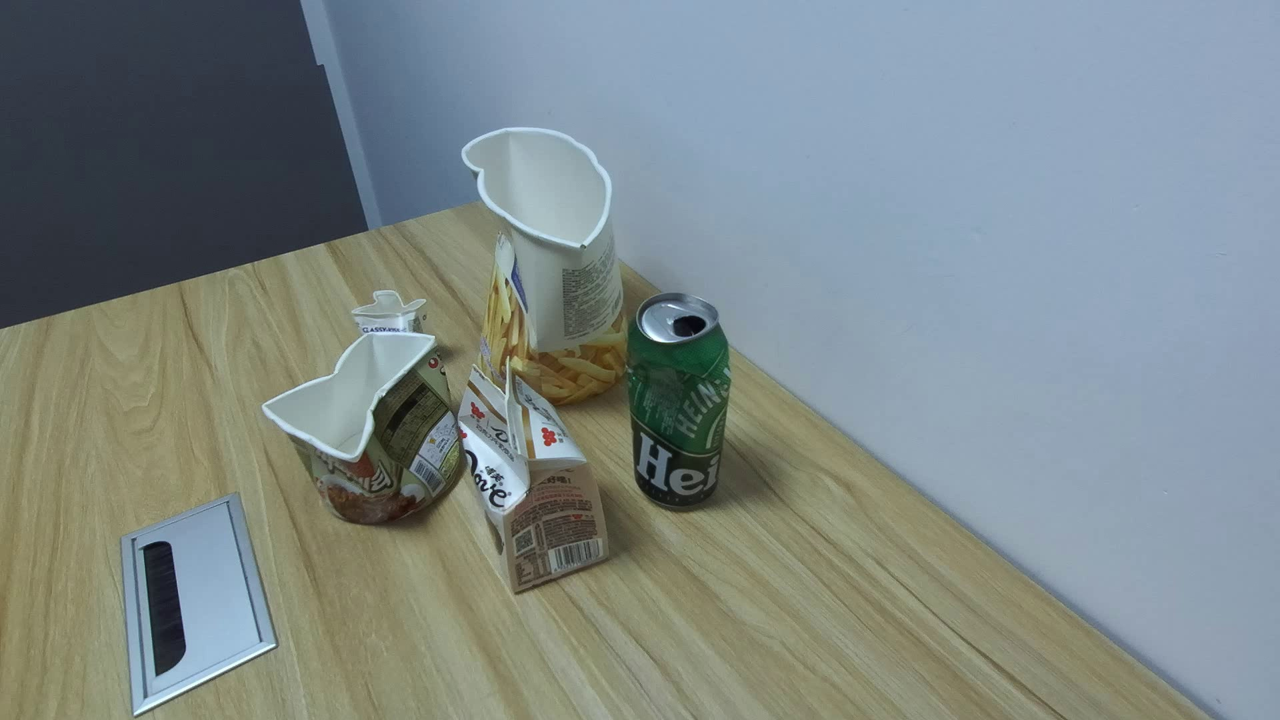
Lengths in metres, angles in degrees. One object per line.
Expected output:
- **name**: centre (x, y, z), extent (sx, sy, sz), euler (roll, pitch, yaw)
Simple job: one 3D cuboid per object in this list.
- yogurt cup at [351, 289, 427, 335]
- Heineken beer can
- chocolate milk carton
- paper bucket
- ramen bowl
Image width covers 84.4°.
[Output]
- **yogurt cup**: centre (-0.233, -0.026, 0.682), extent (0.054, 0.072, 0.055), euler (16, 42, 22)
- **Heineken beer can**: centre (0.026, 0.032, 0.512), extent (0.066, 0.164, 0.077), euler (-4, 39, -1)
- **chocolate milk carton**: centre (-0.074, 0.072, 0.475), extent (0.074, 0.156, 0.076), euler (-18, 41, -16)
- **paper bucket**: centre (-0.081, -0.081, 0.633), extent (0.217, 0.199, 0.148), euler (26, 46, 31)
- **ramen bowl**: centre (-0.201, 0.052, 0.556), extent (0.111, 0.093, 0.128), euler (18, 42, 23)
